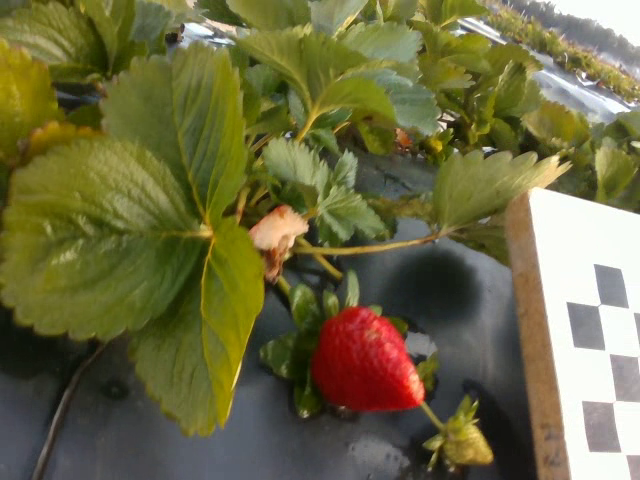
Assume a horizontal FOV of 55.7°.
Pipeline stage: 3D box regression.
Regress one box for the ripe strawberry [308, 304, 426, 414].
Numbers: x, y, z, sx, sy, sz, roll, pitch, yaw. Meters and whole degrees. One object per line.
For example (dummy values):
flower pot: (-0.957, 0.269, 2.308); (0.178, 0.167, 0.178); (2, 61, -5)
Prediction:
ripe strawberry: (0.027, 0.055, 0.257); (0.043, 0.052, 0.057); (-18, 17, -28)
